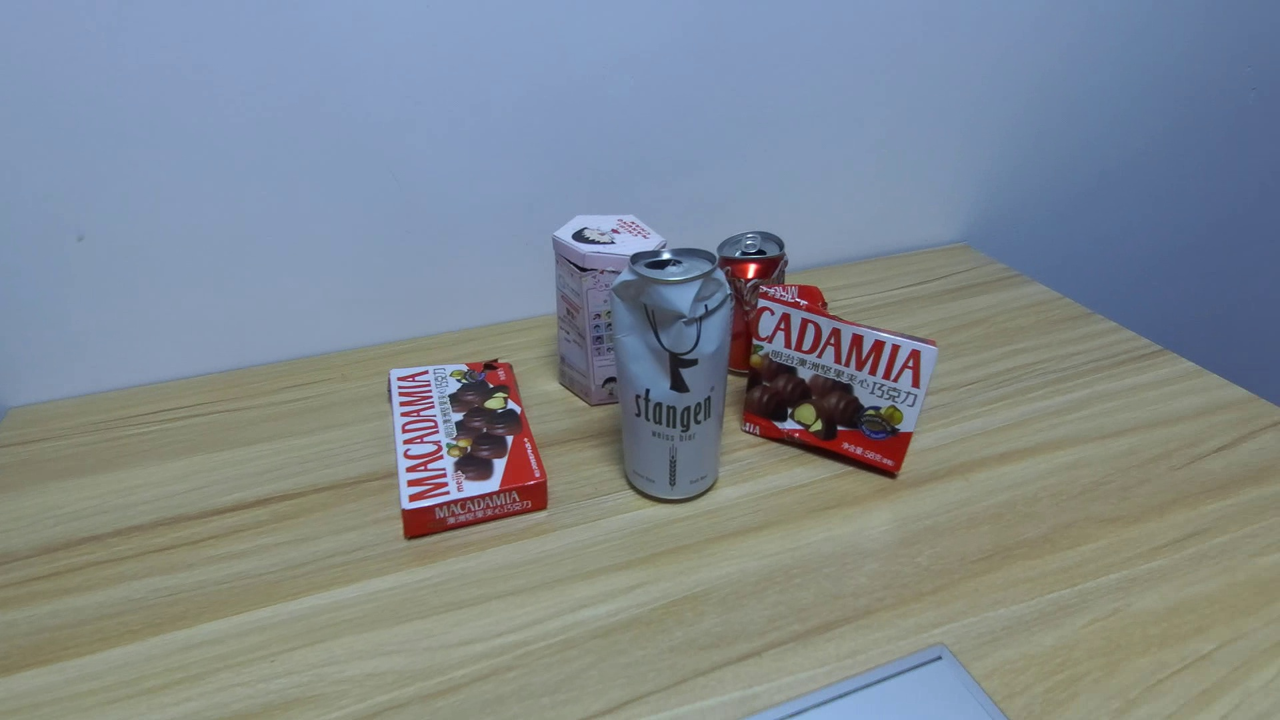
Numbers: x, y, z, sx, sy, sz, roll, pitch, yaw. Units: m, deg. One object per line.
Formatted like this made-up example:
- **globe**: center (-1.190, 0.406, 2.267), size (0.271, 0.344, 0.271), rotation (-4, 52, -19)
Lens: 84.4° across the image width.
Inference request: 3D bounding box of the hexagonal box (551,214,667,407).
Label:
- **hexagonal box**: center (-0.026, -0.042, 0.574), size (0.085, 0.135, 0.091), rotation (-23, 40, -32)

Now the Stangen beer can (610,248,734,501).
- **Stangen beer can**: center (0.022, 0.011, 0.459), size (0.065, 0.166, 0.066), rotation (21, 37, 32)

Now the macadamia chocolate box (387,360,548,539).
- **macadamia chocolate box**: center (-0.134, 0.052, 0.535), size (0.103, 0.027, 0.186), rotation (-9, 34, -17)

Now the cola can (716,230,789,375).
- **cola can**: center (0.096, -0.048, 0.604), size (0.069, 0.112, 0.065), rotation (-28, 40, -33)

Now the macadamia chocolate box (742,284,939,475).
- **macadamia chocolate box**: center (0.141, 0.012, 0.509), size (0.126, 0.112, 0.056), rotation (17, 35, 25)
